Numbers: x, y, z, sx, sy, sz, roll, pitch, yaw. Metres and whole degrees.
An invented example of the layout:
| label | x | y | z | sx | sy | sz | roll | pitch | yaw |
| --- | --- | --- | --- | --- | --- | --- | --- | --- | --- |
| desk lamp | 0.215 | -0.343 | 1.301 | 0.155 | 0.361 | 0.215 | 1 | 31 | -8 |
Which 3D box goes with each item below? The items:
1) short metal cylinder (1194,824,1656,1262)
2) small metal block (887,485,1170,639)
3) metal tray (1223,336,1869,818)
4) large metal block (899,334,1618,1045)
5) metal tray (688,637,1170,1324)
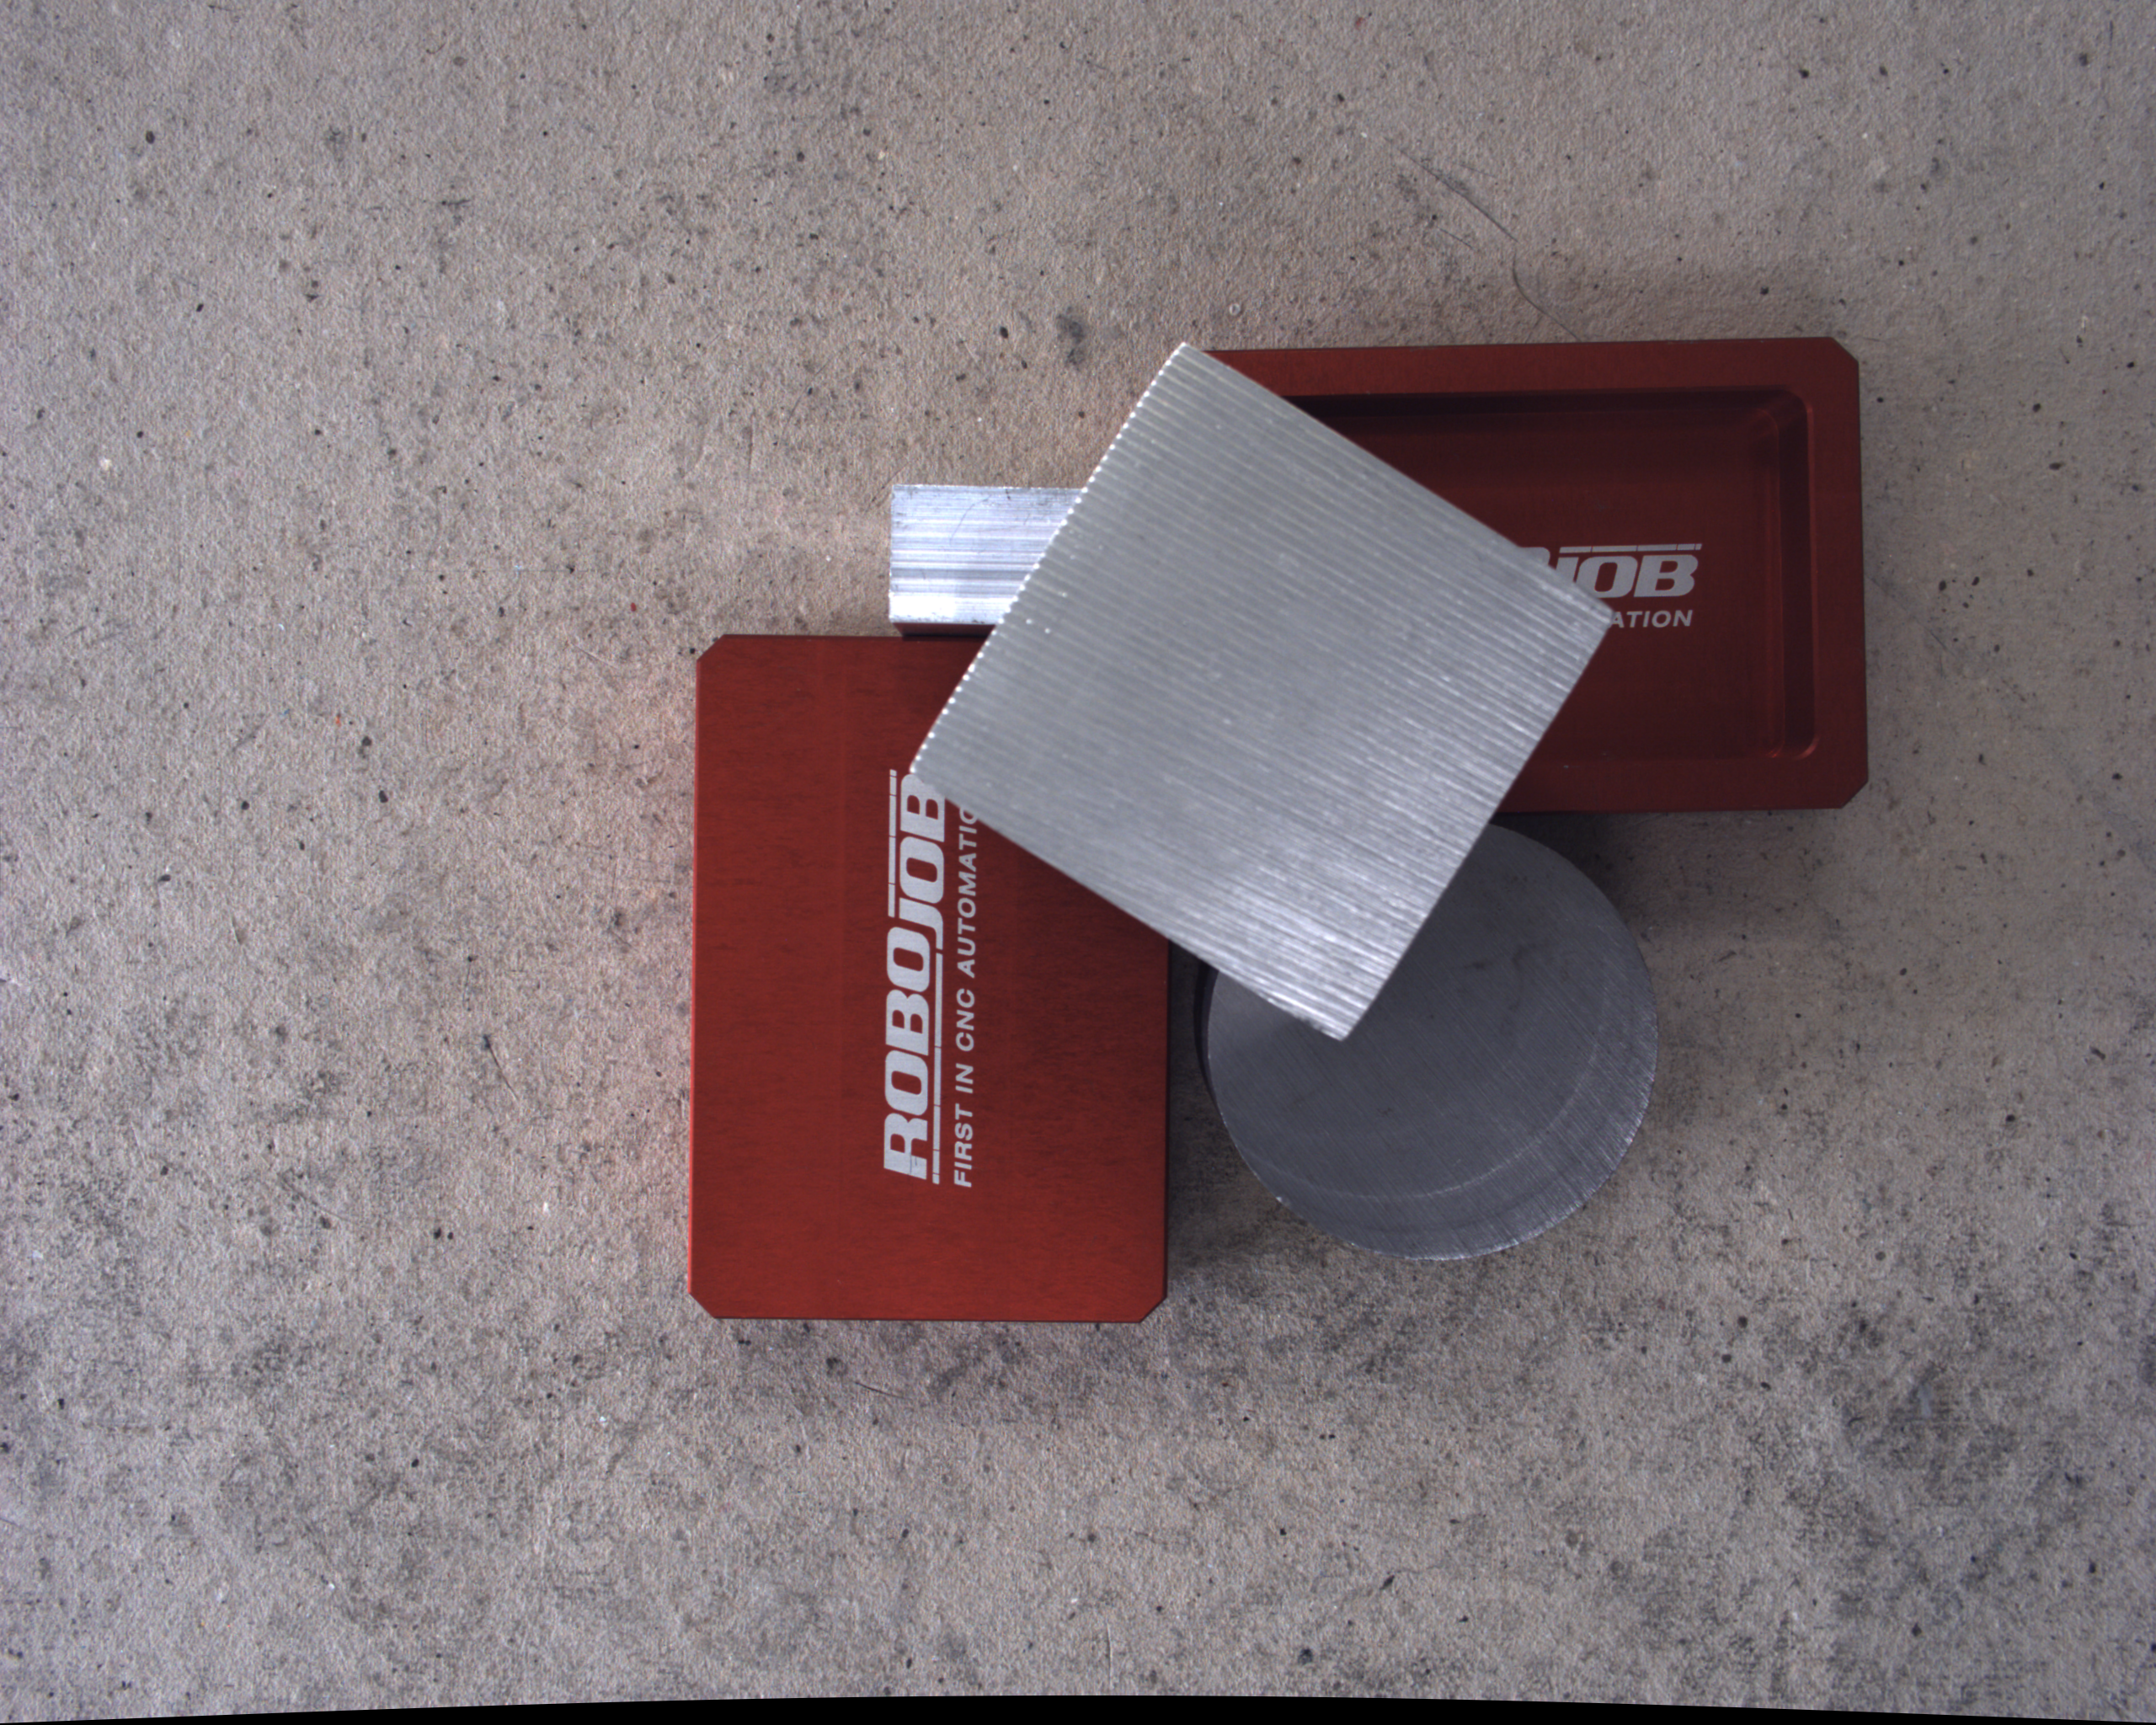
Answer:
| label | x | y | z | sx | sy | sz | roll | pitch | yaw |
| --- | --- | --- | --- | --- | --- | --- | --- | --- | --- |
| short metal cylinder | 0.064 | 0.032 | 0.399 | 0.080 | 0.050 | 0.080 | 0 | 90 | 0 |
| small metal block | -0.009 | -0.055 | 0.399 | 0.050 | 0.050 | 0.025 | 1 | 90 | 0 |
| metal tray | 0.084 | -0.054 | 0.409 | 0.131 | 0.030 | 0.089 | -2 | 90 | 0 |
| large metal block | 0.028 | -0.027 | 0.347 | 0.080 | 0.050 | 0.080 | 33 | 90 | 0 |
| metal tray | -0.028 | 0.022 | 0.409 | 0.091 | 0.030 | 0.129 | 1 | 90 | 0 |
